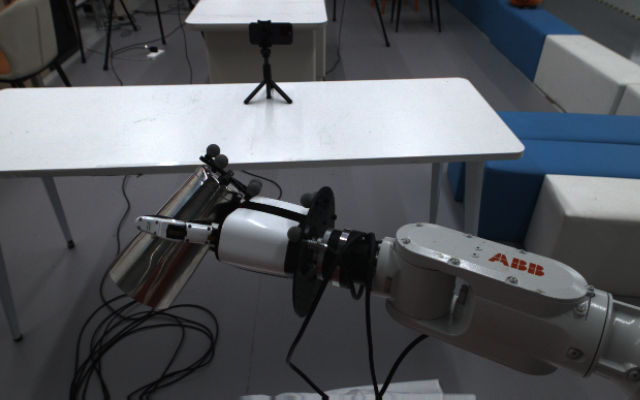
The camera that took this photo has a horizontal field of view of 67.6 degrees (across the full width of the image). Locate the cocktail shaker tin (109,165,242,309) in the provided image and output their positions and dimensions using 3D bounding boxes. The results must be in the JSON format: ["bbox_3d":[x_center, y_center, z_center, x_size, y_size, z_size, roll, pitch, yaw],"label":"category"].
[{"bbox_3d":[-0.173,0.039,0.611,0.170,0.093,0.093,-50,46,4],"label":"cocktail shaker tin"}]
